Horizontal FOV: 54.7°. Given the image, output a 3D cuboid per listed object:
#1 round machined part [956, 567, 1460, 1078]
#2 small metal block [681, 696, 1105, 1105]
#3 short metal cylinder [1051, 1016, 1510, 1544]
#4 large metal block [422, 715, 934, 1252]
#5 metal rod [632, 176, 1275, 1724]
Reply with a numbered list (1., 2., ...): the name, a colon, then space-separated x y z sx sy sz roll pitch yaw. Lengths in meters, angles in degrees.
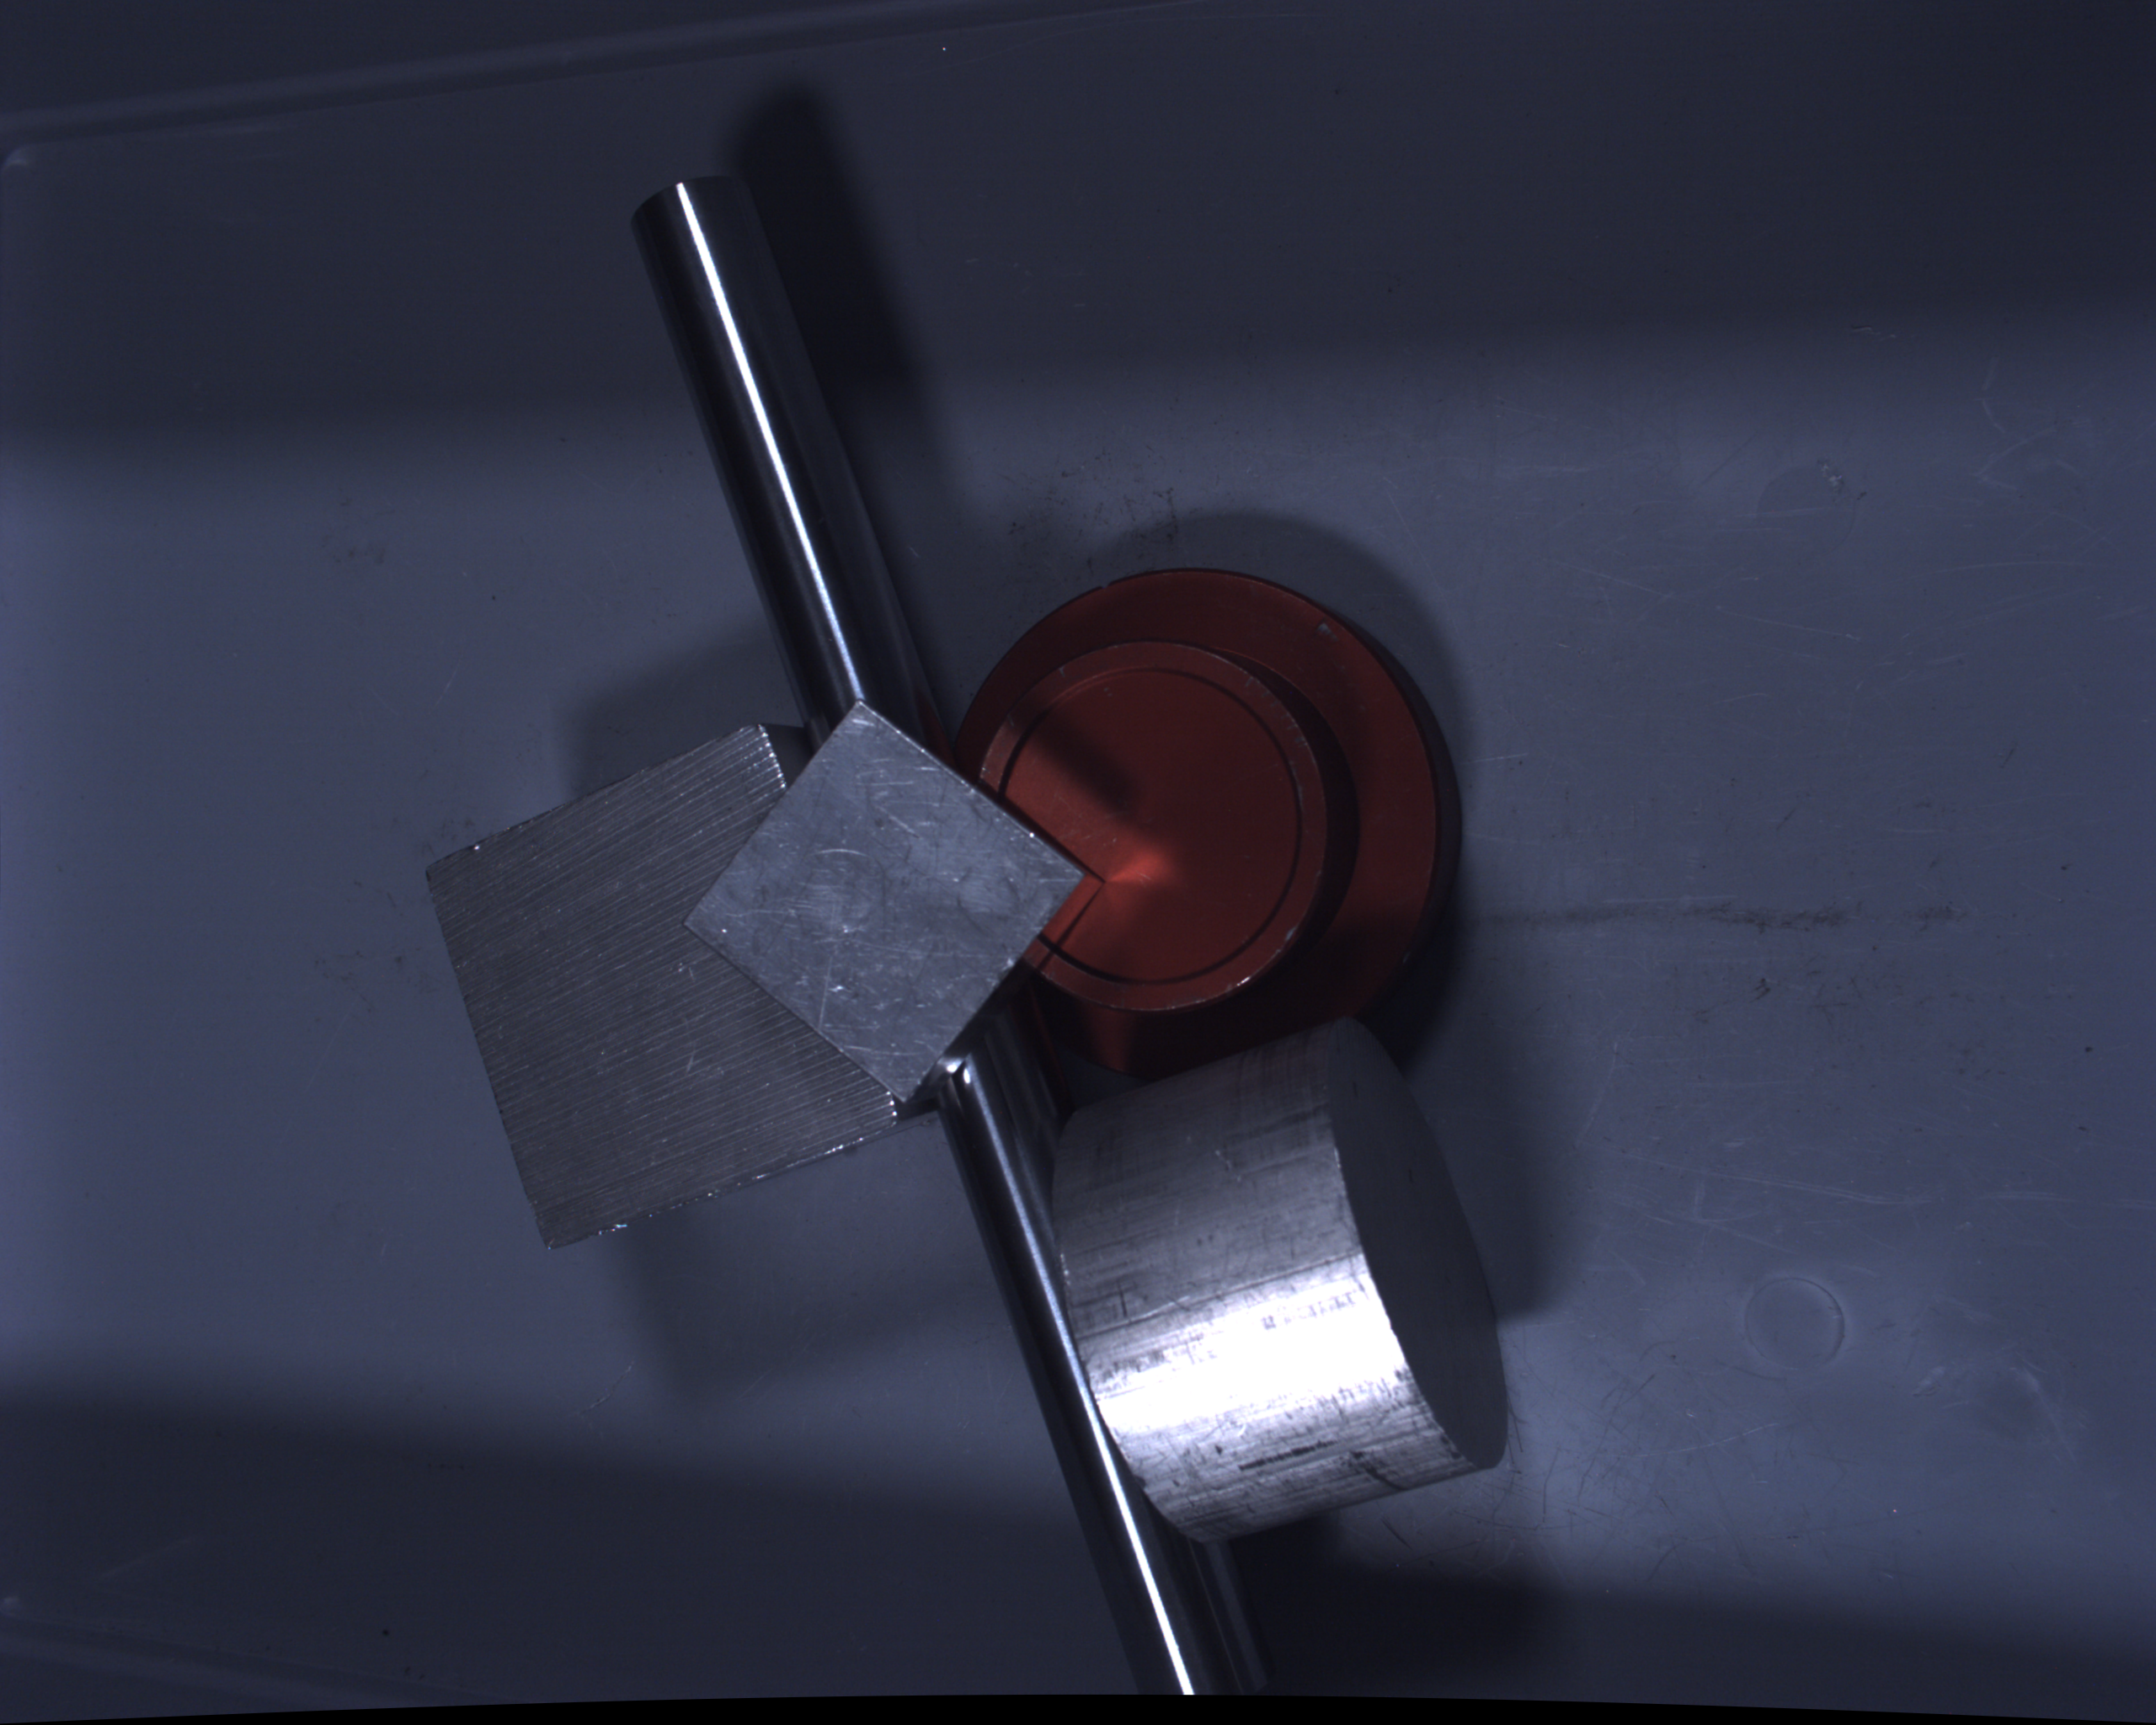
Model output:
1. round machined part: 0.019 -0.007 0.392 0.098 0.042 0.097 0 90 19
2. small metal block: -0.032 0.007 0.368 0.050 0.025 0.050 38 91 8
3. short metal cylinder: 0.037 0.073 0.366 0.050 0.080 0.080 -22 83 18
4. large metal block: -0.072 0.024 0.417 0.080 0.050 0.080 -21 83 18
5. metal rod: -0.026 0.011 0.395 0.025 0.025 0.299 -22 83 18
